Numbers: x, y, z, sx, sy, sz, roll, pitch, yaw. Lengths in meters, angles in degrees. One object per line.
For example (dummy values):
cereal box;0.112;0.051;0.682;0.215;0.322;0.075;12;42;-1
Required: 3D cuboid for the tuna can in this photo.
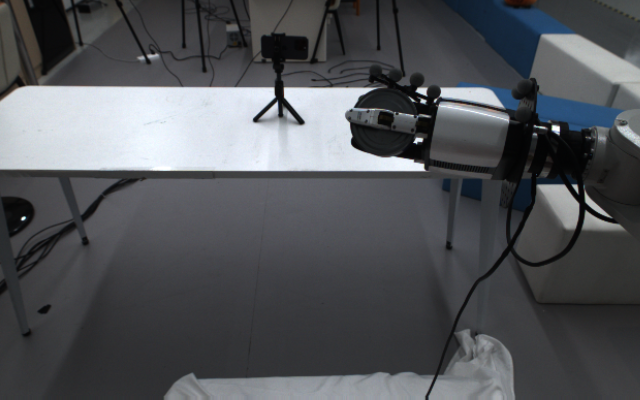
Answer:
tuna can;0.085;-0.100;0.622;0.085;0.085;0.034;13;3;15
